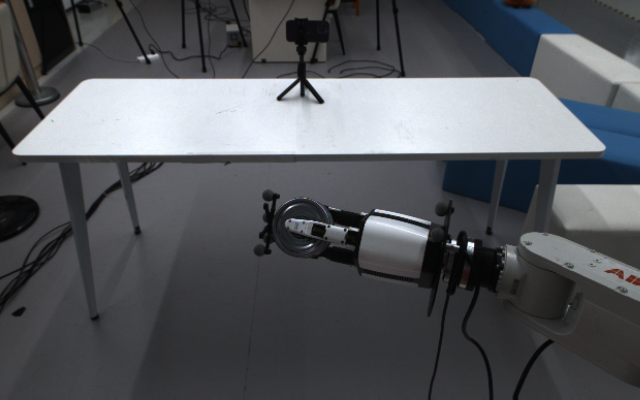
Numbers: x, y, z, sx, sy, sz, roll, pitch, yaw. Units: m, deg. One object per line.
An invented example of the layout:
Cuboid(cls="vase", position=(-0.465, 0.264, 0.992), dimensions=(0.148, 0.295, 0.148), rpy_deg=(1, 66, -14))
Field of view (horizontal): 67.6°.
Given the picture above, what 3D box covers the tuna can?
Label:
Cuboid(cls="tuna can", position=(-0.020, 0.038, 0.685), dimensions=(0.085, 0.085, 0.034), rpy_deg=(9, -6, 11))
